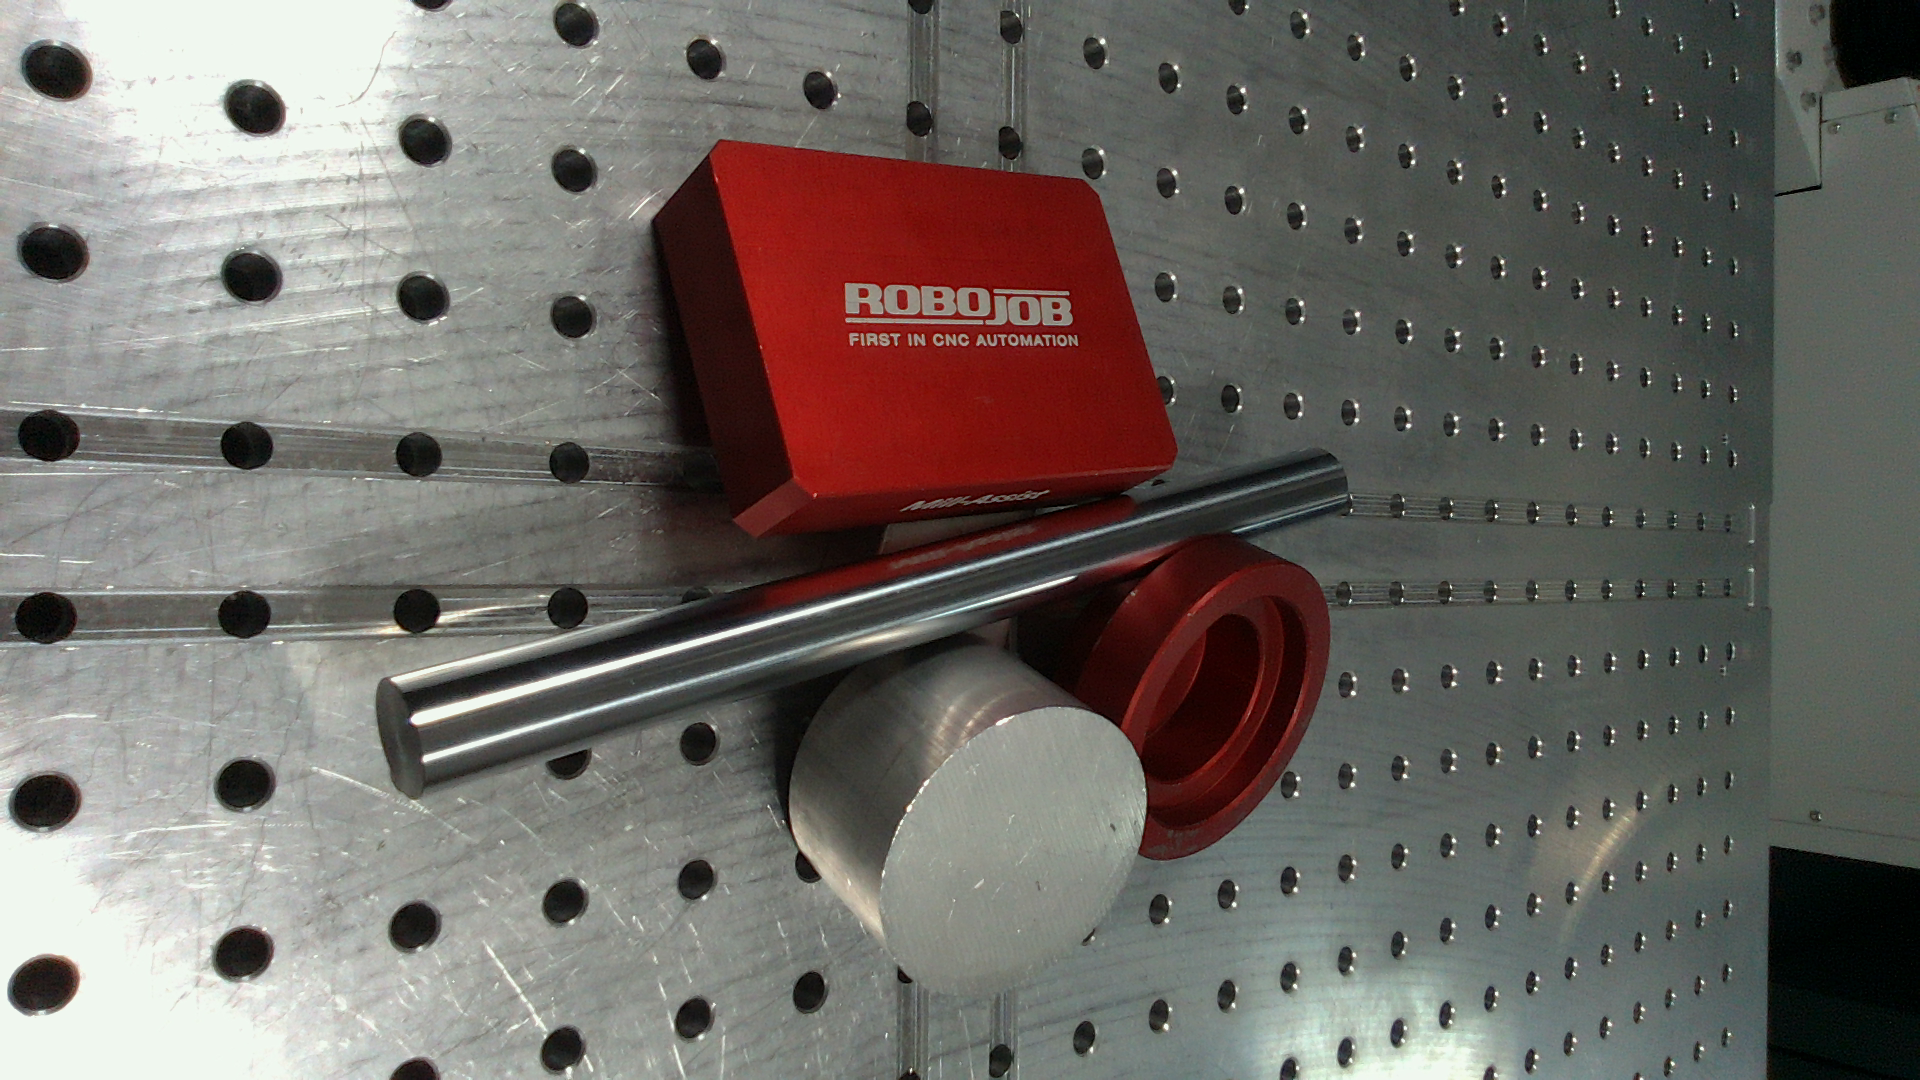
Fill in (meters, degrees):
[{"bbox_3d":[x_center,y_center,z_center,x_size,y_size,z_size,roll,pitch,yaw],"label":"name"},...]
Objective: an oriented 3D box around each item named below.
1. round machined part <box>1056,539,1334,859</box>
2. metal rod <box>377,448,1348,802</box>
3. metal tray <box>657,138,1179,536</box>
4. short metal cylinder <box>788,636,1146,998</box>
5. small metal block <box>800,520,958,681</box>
[{"bbox_3d":[0.067,0.044,0.422,0.098,0.042,0.098,-22,126,-34],"label":"round machined part"},{"bbox_3d":[0.005,0.010,0.362,0.301,0.025,0.025,-14,99,-39],"label":"metal rod"},{"bbox_3d":[-0.007,-0.053,0.365,0.131,0.030,0.090,-7,76,-40],"label":"metal tray"},{"bbox_3d":[0.002,0.071,0.362,0.080,0.050,0.080,-13,115,-30],"label":"short metal cylinder"},{"bbox_3d":[-0.019,0.018,0.387,0.050,0.025,0.050,23,76,-38],"label":"small metal block"}]
